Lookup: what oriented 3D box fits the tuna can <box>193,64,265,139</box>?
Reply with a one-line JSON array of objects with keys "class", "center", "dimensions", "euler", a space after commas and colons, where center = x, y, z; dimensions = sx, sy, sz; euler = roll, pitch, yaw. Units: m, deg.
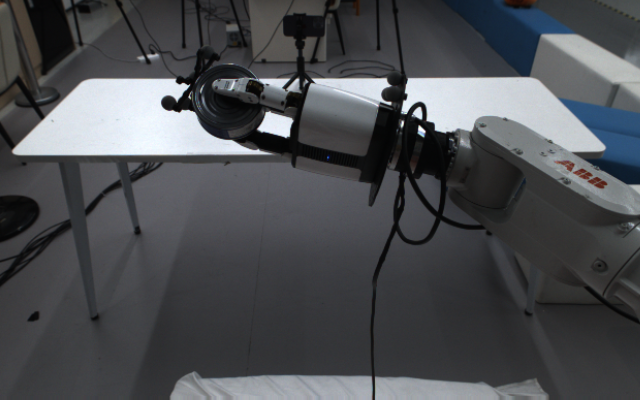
[{"class": "tuna can", "center": [-0.105, -0.114, 0.577], "dimensions": [0.085, 0.034, 0.085], "euler": [1, 78, -6]}]
